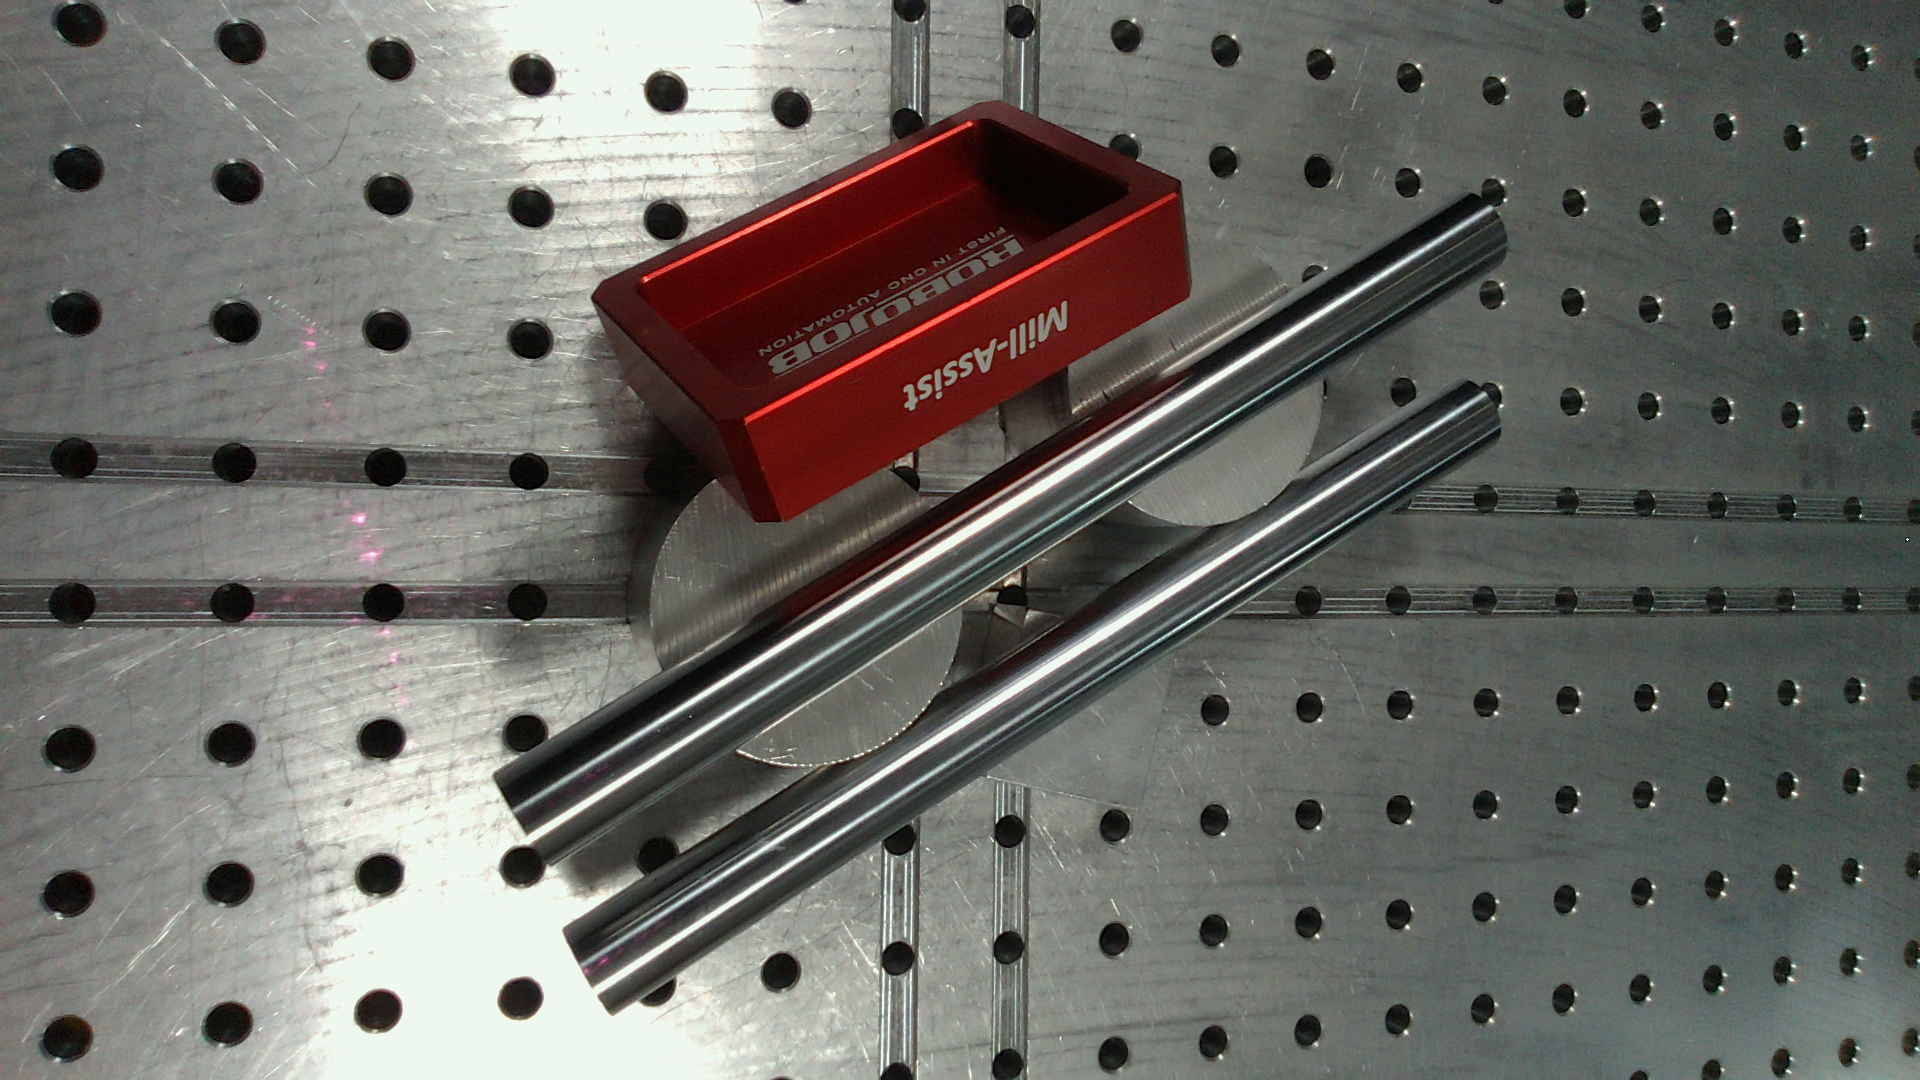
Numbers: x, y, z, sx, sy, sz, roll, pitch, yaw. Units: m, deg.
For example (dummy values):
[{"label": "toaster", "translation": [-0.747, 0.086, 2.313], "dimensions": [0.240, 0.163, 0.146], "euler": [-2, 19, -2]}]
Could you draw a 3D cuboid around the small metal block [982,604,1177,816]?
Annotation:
[{"label": "small metal block", "translation": [0.032, 0.050, 0.406], "dimensions": [0.050, 0.025, 0.050], "euler": [16, 85, -19]}]

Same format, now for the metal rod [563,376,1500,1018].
[{"label": "metal rod", "translation": [0.033, 0.033, 0.380], "dimensions": [0.301, 0.025, 0.025], "euler": [-30, 100, -17]}]

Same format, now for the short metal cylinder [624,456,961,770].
[{"label": "short metal cylinder", "translation": [-0.046, 0.017, 0.366], "dimensions": [0.080, 0.050, 0.080], "euler": [0, 90, -20]}]

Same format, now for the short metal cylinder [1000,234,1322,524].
[{"label": "short metal cylinder", "translation": [0.058, -0.045, 0.404], "dimensions": [0.080, 0.050, 0.080], "euler": [0, 90, -20]}]

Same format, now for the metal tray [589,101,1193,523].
[{"label": "metal tray", "translation": [-0.018, -0.064, 0.353], "dimensions": [0.130, 0.090, 0.030], "euler": [-30, 132, -17]}]

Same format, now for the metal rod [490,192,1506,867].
[{"label": "metal rod", "translation": [0.024, -0.013, 0.350], "dimensions": [0.301, 0.025, 0.025], "euler": [-32, 100, -17]}]
